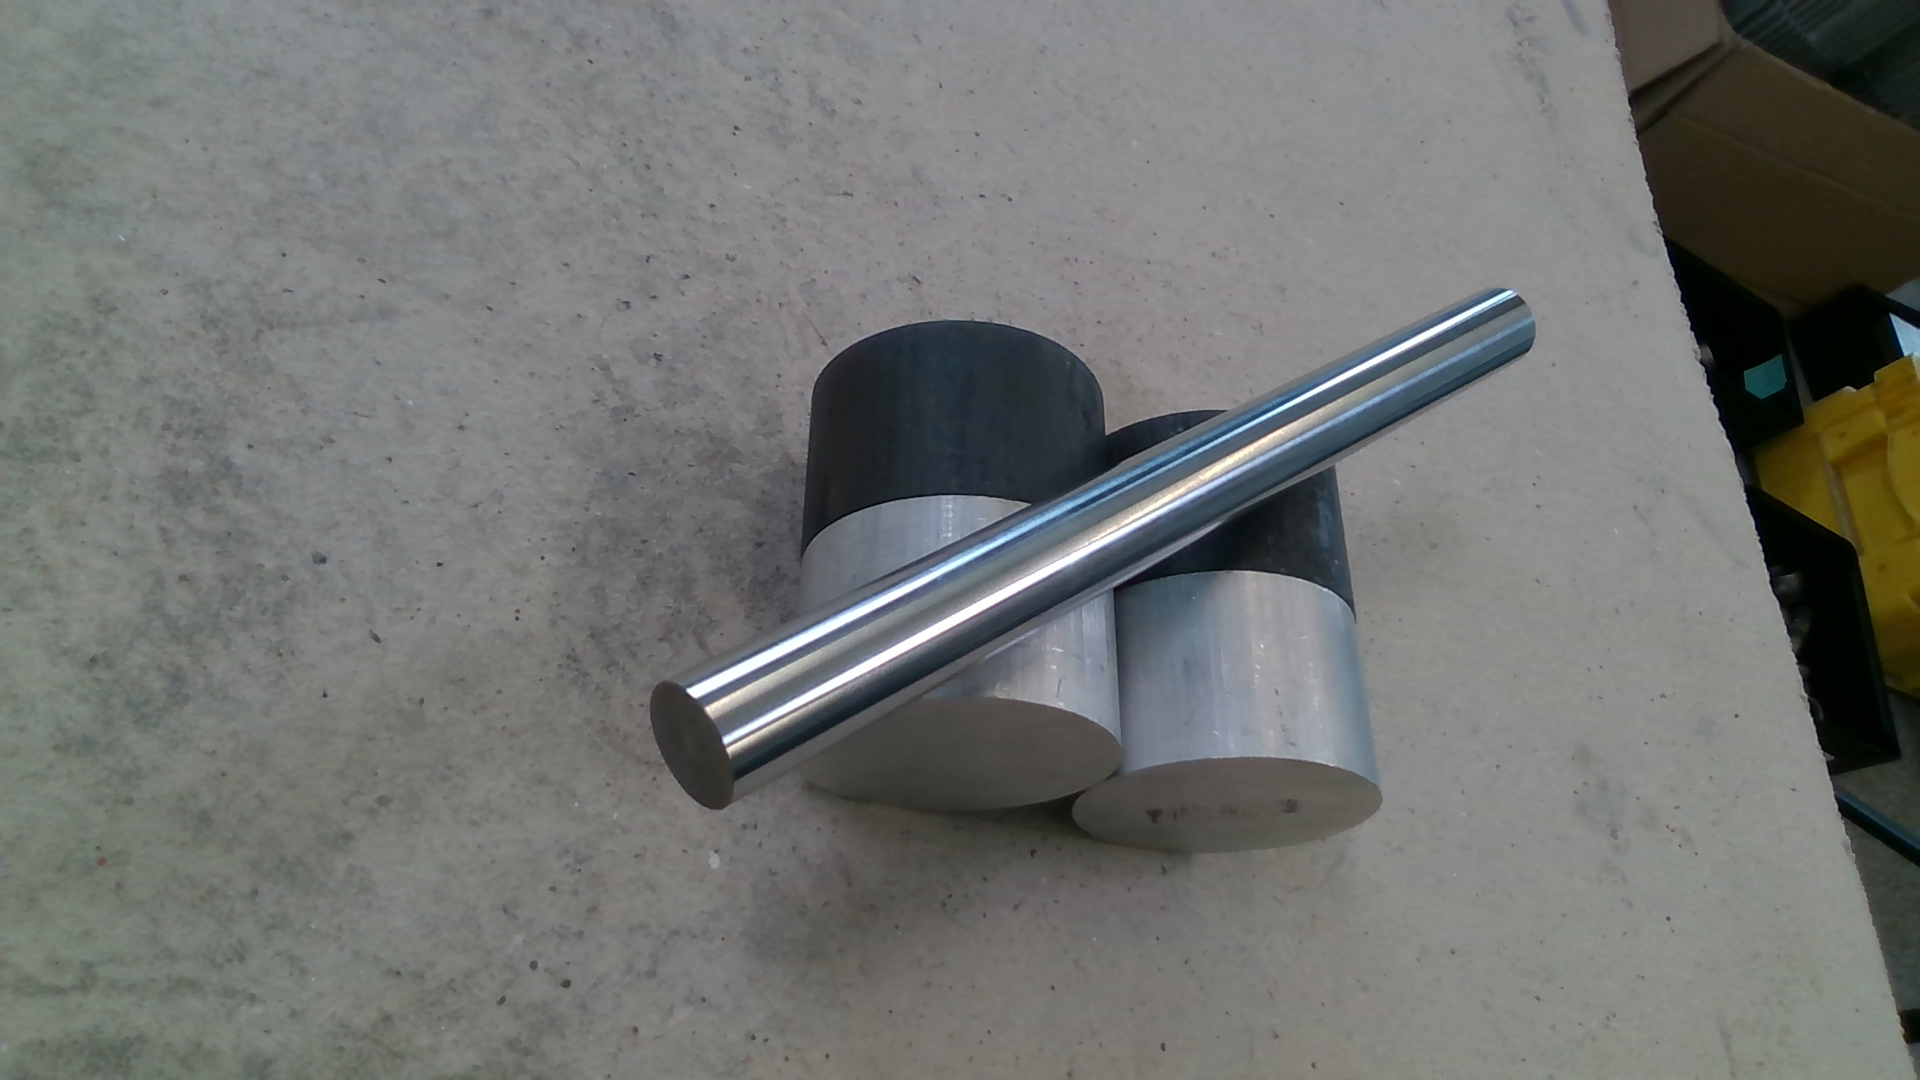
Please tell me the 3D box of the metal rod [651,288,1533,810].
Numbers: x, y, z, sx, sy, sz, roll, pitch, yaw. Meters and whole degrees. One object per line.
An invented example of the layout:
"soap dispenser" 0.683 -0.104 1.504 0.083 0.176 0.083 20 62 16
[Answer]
"metal rod" 0.059 -0.015 0.334 0.300 0.025 0.025 -26 80 -38

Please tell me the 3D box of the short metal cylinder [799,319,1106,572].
"short metal cylinder" -0.001 -0.014 0.365 0.080 0.080 0.050 15 58 -24

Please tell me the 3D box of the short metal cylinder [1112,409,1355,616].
"short metal cylinder" 0.070 0.005 0.399 0.080 0.080 0.050 15 58 -24

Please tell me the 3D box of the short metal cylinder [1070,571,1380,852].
"short metal cylinder" 0.069 0.049 0.375 0.080 0.080 0.050 15 58 -24

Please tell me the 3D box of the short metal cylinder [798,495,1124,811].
"short metal cylinder" -0.001 0.031 0.341 0.080 0.080 0.050 15 58 -24
